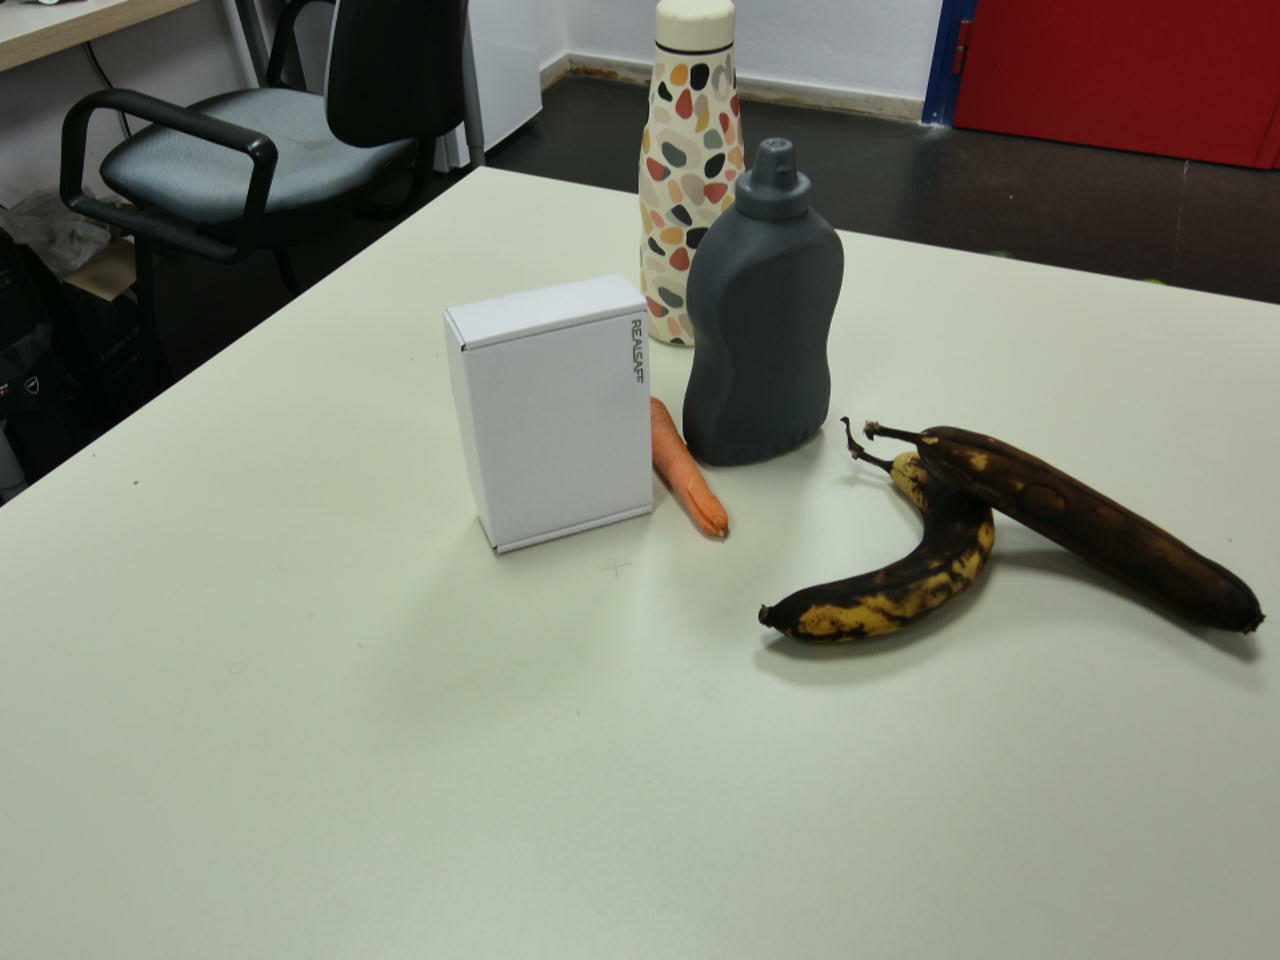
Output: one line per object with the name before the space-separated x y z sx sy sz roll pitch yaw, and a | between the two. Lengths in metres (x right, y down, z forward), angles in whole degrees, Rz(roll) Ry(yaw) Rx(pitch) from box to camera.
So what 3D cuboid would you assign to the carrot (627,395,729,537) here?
carrot | 0.023 -0.012 0.649 0.030 0.032 0.136 -13 40 -16
